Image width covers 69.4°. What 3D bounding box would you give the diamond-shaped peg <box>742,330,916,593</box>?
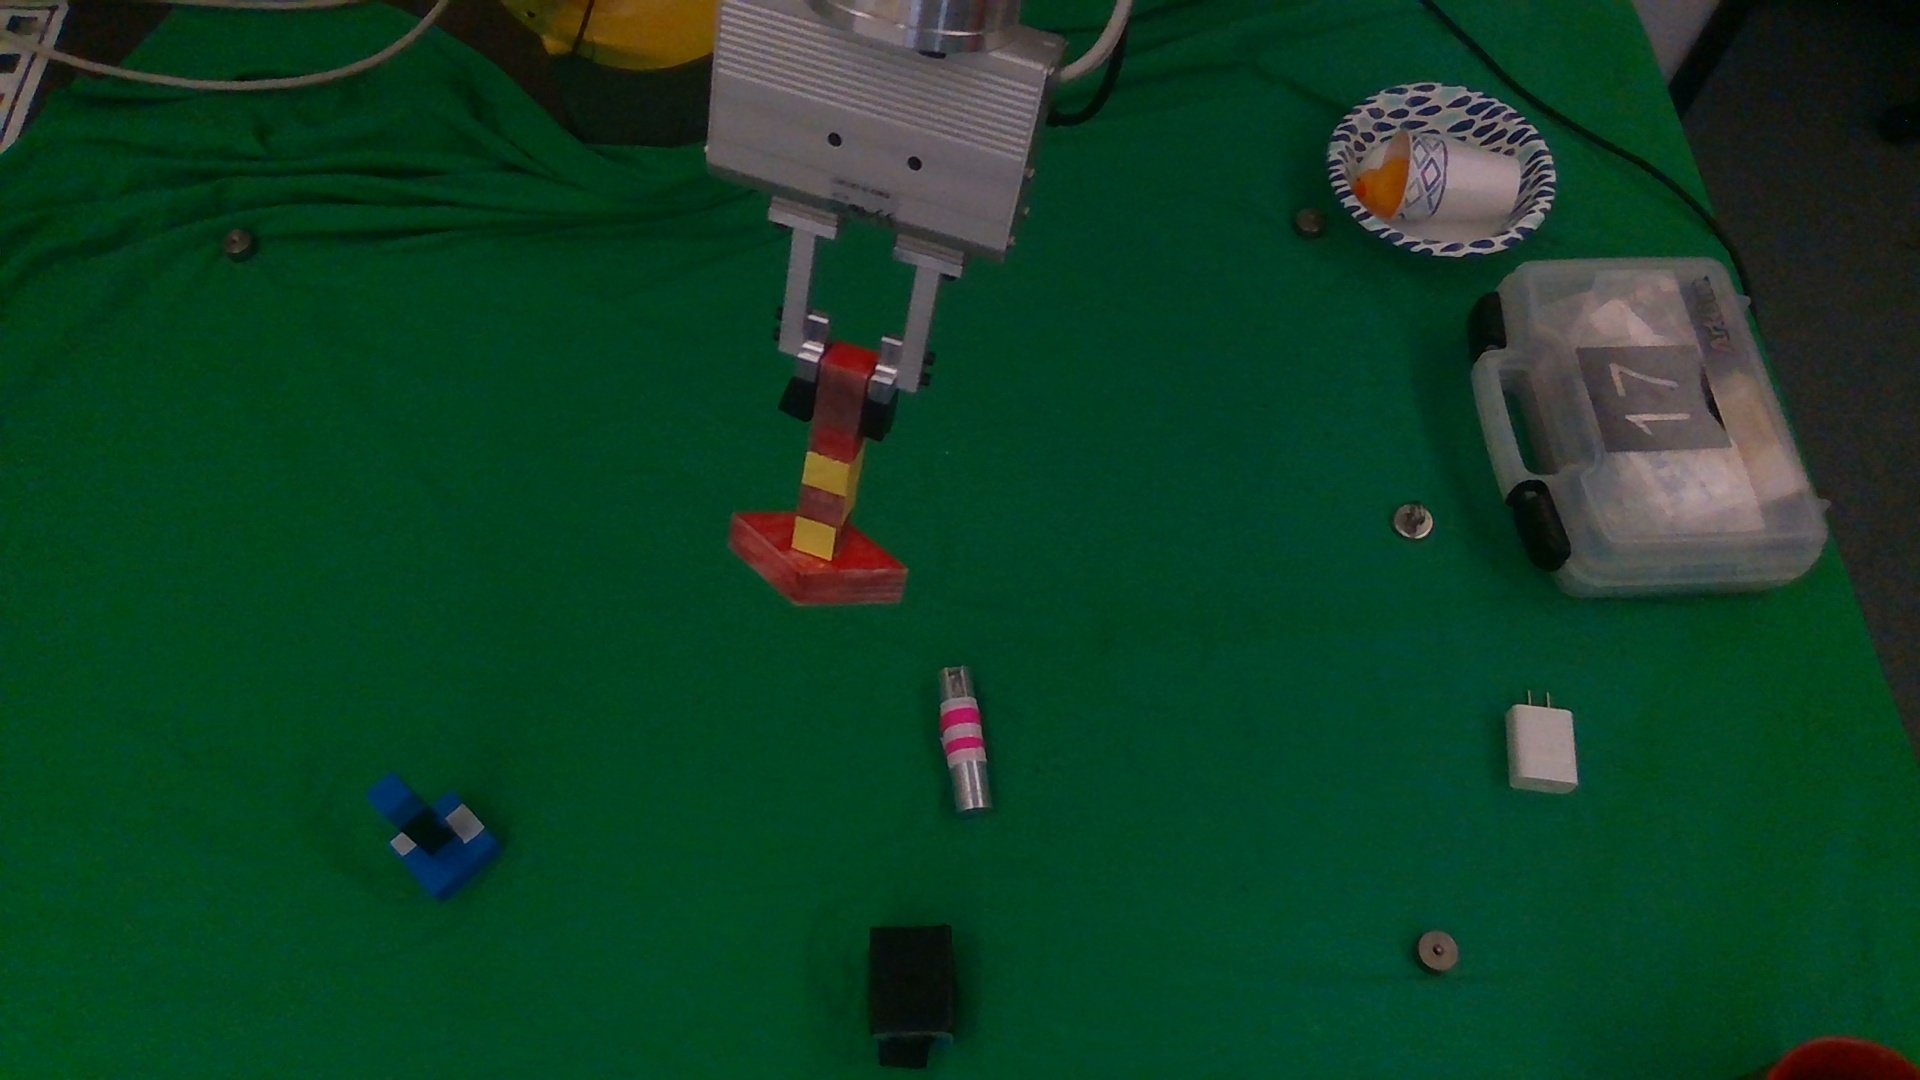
[{"bbox_3d":[-0.053,-0.034,0.607,0.074,0.122,0.045,0,42,-15],"label":"diamond-shaped peg"}]

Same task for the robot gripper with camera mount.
[{"bbox_3d":[-0.021,-0.161,0.603,0.119,0.158,0.193,14,36,1],"label":"robot gripper with camera mount"}]
